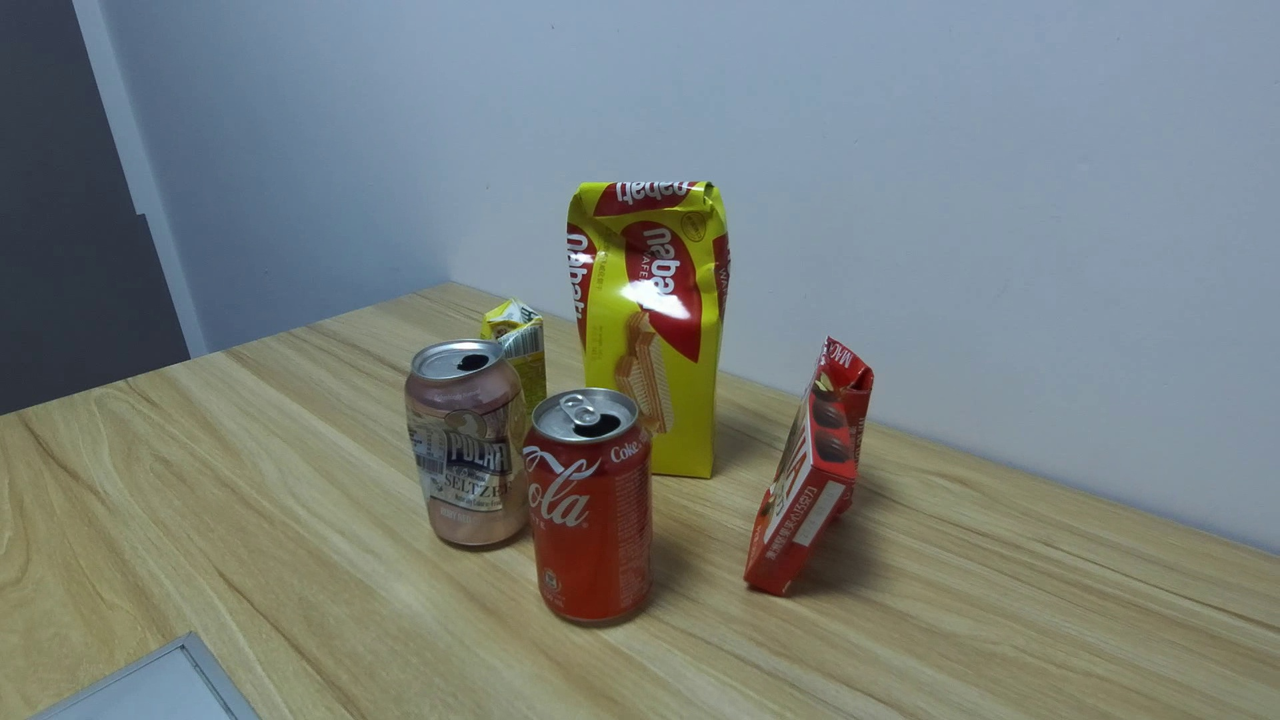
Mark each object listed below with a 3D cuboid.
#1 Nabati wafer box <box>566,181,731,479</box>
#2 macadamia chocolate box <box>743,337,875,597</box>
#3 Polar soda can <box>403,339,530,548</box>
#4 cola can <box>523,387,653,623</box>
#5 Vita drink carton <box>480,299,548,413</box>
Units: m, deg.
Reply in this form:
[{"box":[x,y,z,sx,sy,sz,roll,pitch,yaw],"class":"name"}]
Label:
[{"box":[0.007,-0.017,0.484,0.113,0.205,0.042,2,23,12],"class":"Nabati wafer box"},{"box":[0.101,0.061,0.420,0.056,0.112,0.126,9,27,19],"class":"macadamia chocolate box"},{"box":[-0.105,0.054,0.443,0.067,0.122,0.074,-14,27,-24],"class":"Polar soda can"},{"box":[-0.026,0.078,0.385,0.068,0.120,0.068,-2,25,1],"class":"cola can"},{"box":[-0.103,0.014,0.537,0.047,0.109,0.071,-11,25,-30],"class":"Vita drink carton"}]
